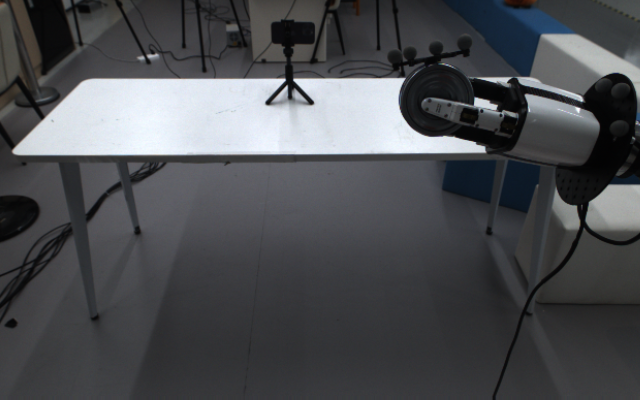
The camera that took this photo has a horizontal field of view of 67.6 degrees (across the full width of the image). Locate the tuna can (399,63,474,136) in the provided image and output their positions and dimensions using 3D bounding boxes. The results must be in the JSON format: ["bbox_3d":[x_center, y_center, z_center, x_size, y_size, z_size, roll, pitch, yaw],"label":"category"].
[{"bbox_3d":[0.139,-0.122,0.577,0.085,0.085,0.034,6,18,5],"label":"tuna can"}]
